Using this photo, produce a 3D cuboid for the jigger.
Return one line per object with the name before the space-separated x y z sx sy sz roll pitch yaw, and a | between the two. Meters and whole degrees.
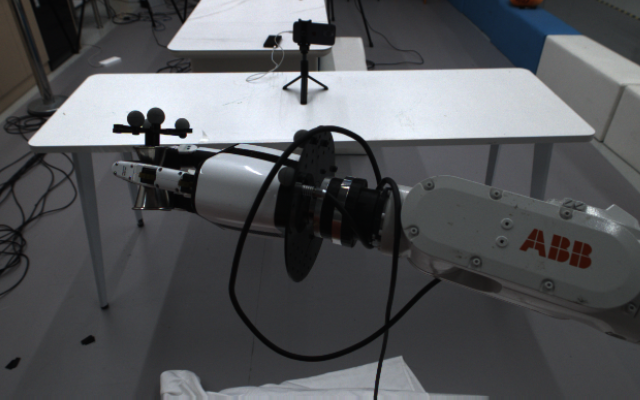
jigger | -0.181 -0.023 0.531 0.043 0.071 0.043 0 3 0
